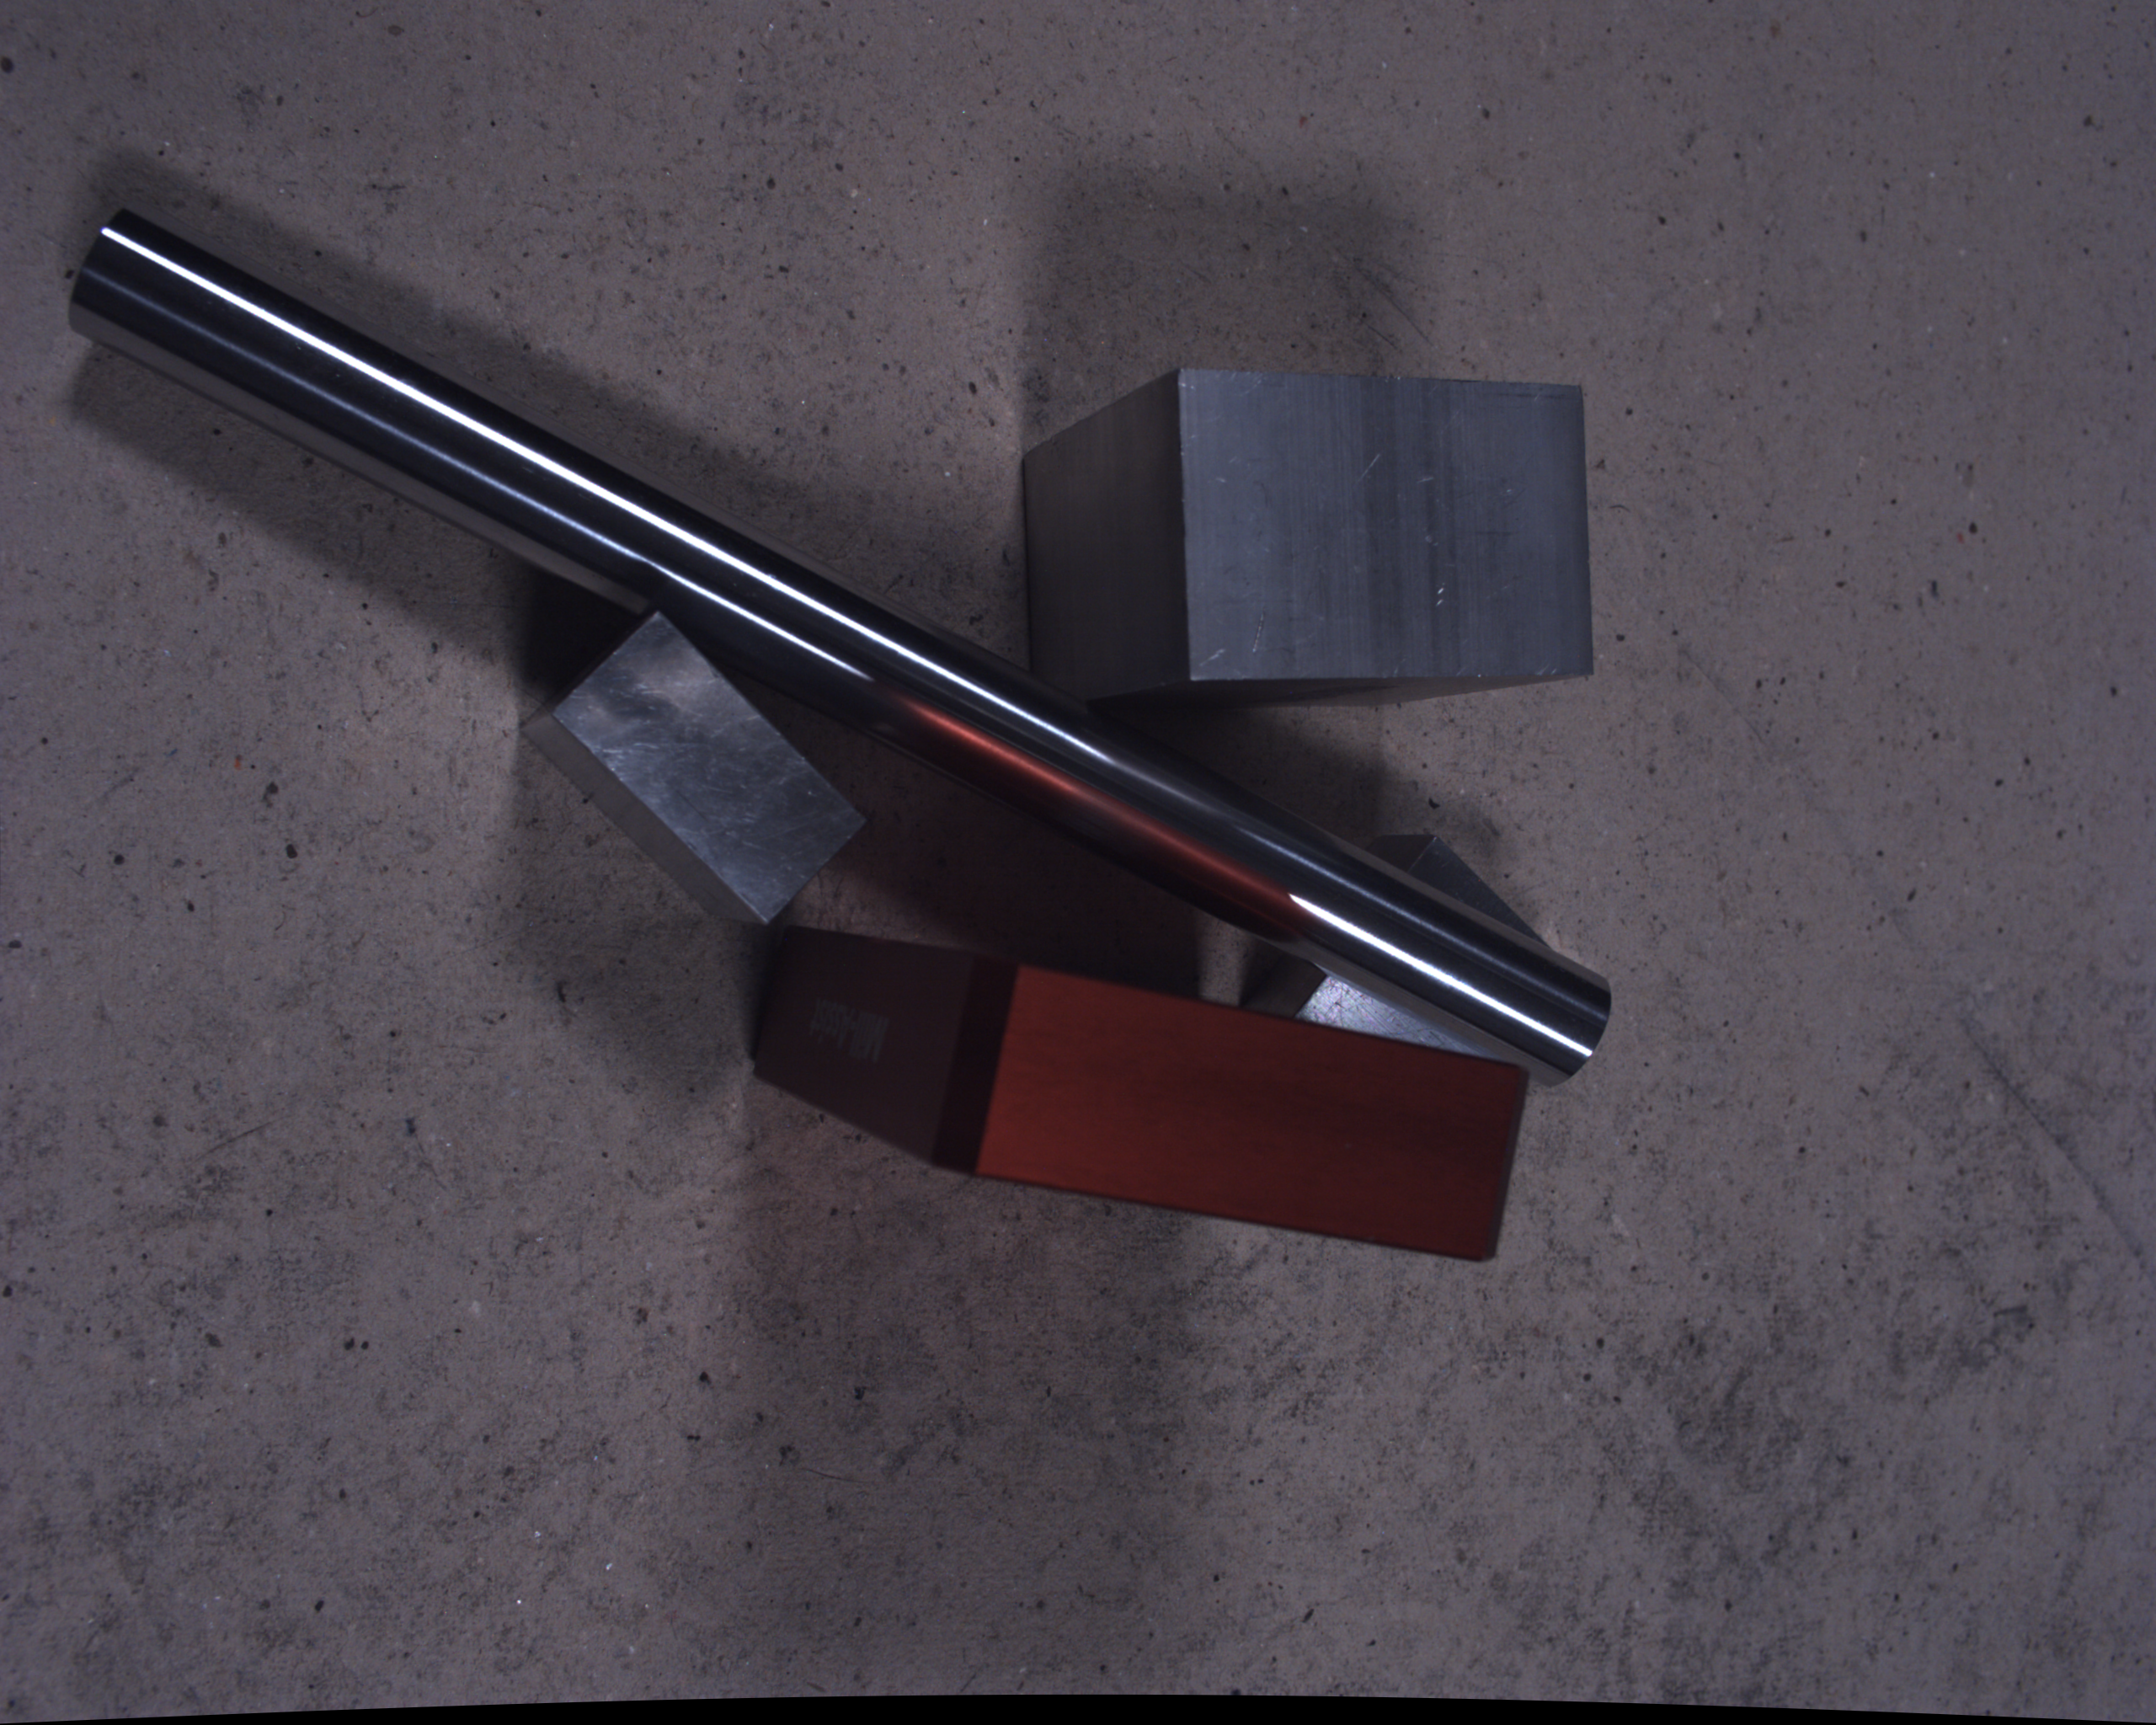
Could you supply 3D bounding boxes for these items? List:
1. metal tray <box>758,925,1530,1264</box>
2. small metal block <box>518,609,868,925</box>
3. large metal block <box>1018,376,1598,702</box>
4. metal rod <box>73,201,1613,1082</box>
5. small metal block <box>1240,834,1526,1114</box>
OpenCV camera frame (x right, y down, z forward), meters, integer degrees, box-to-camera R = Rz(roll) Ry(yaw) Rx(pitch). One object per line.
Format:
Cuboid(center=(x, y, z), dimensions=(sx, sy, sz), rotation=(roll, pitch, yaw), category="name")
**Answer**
Cuboid(center=(0.004, 0.036, 0.357), dimensions=(0.091, 0.130, 0.030), rotation=(13, 86, -20), category="metal tray")
Cuboid(center=(-0.070, -0.016, 0.371), dimensions=(0.050, 0.050, 0.025), rotation=(46, 76, -15), category="small metal block")
Cuboid(center=(0.041, -0.057, 0.396), dimensions=(0.081, 0.080, 0.050), rotation=(-2, 91, -20), category="large metal block")
Cuboid(center=(-0.031, -0.034, 0.385), dimensions=(0.301, 0.025, 0.025), rotation=(27, 81, -13), category="metal rod")
Cuboid(center=(0.071, 0.029, 0.438), dimensions=(0.050, 0.025, 0.050), rotation=(43, 76, -15), category="small metal block")
